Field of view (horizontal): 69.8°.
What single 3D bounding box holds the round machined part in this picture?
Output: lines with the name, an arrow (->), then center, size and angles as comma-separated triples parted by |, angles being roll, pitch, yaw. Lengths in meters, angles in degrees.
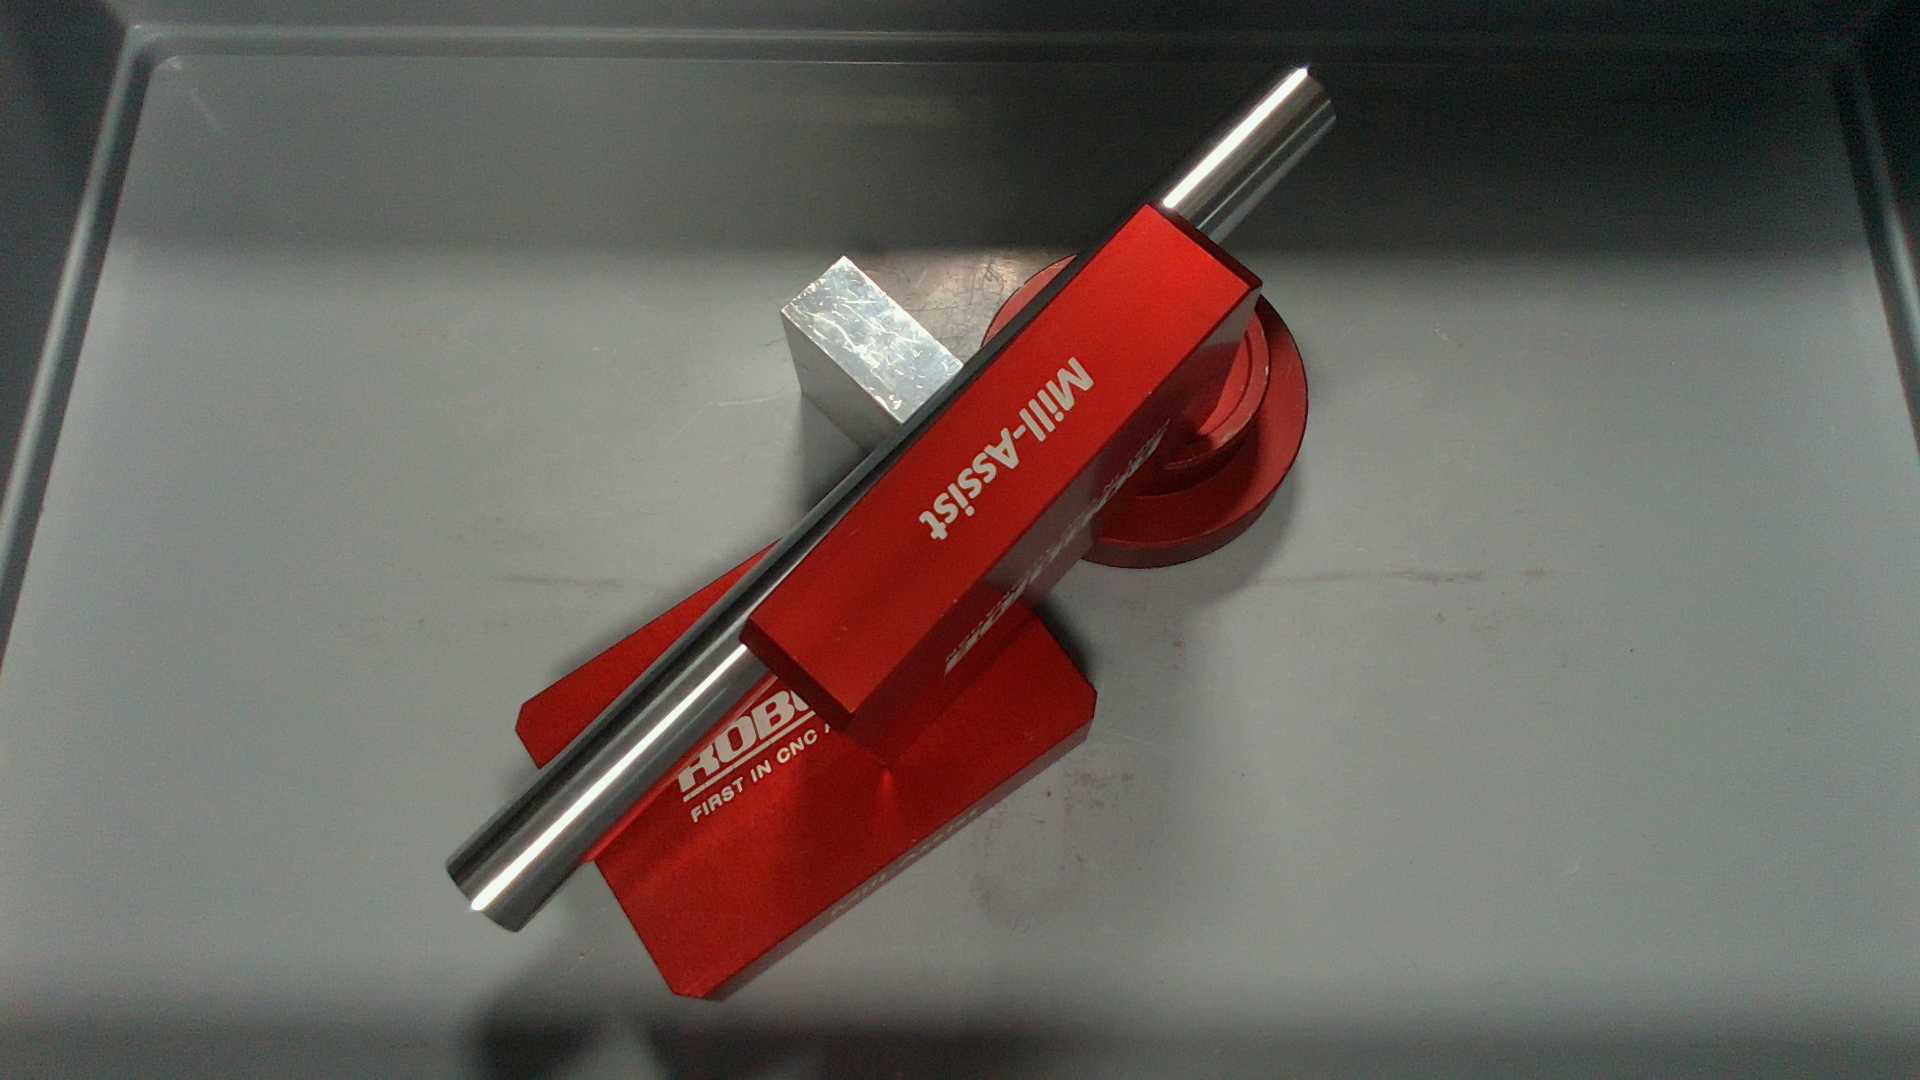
round machined part -> 0.053, -0.045, 0.400 | 0.098, 0.042, 0.098 | 0, 70, 0

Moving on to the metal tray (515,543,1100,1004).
metal tray -> -0.039, 0.050, 0.372 | 0.130, 0.030, 0.090 | -33, 73, -11

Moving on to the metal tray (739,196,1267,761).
metal tray -> 0.012, -0.009, 0.322 | 0.030, 0.090, 0.130 | 42, 82, 11

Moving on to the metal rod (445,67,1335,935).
metal rod -> -0.010, -0.018, 0.358 | 0.025, 0.025, 0.300 | 43, 79, 14

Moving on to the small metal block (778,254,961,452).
small metal block -> -0.023, -0.046, 0.397 | 0.025, 0.050, 0.050 | -43, 75, -14
